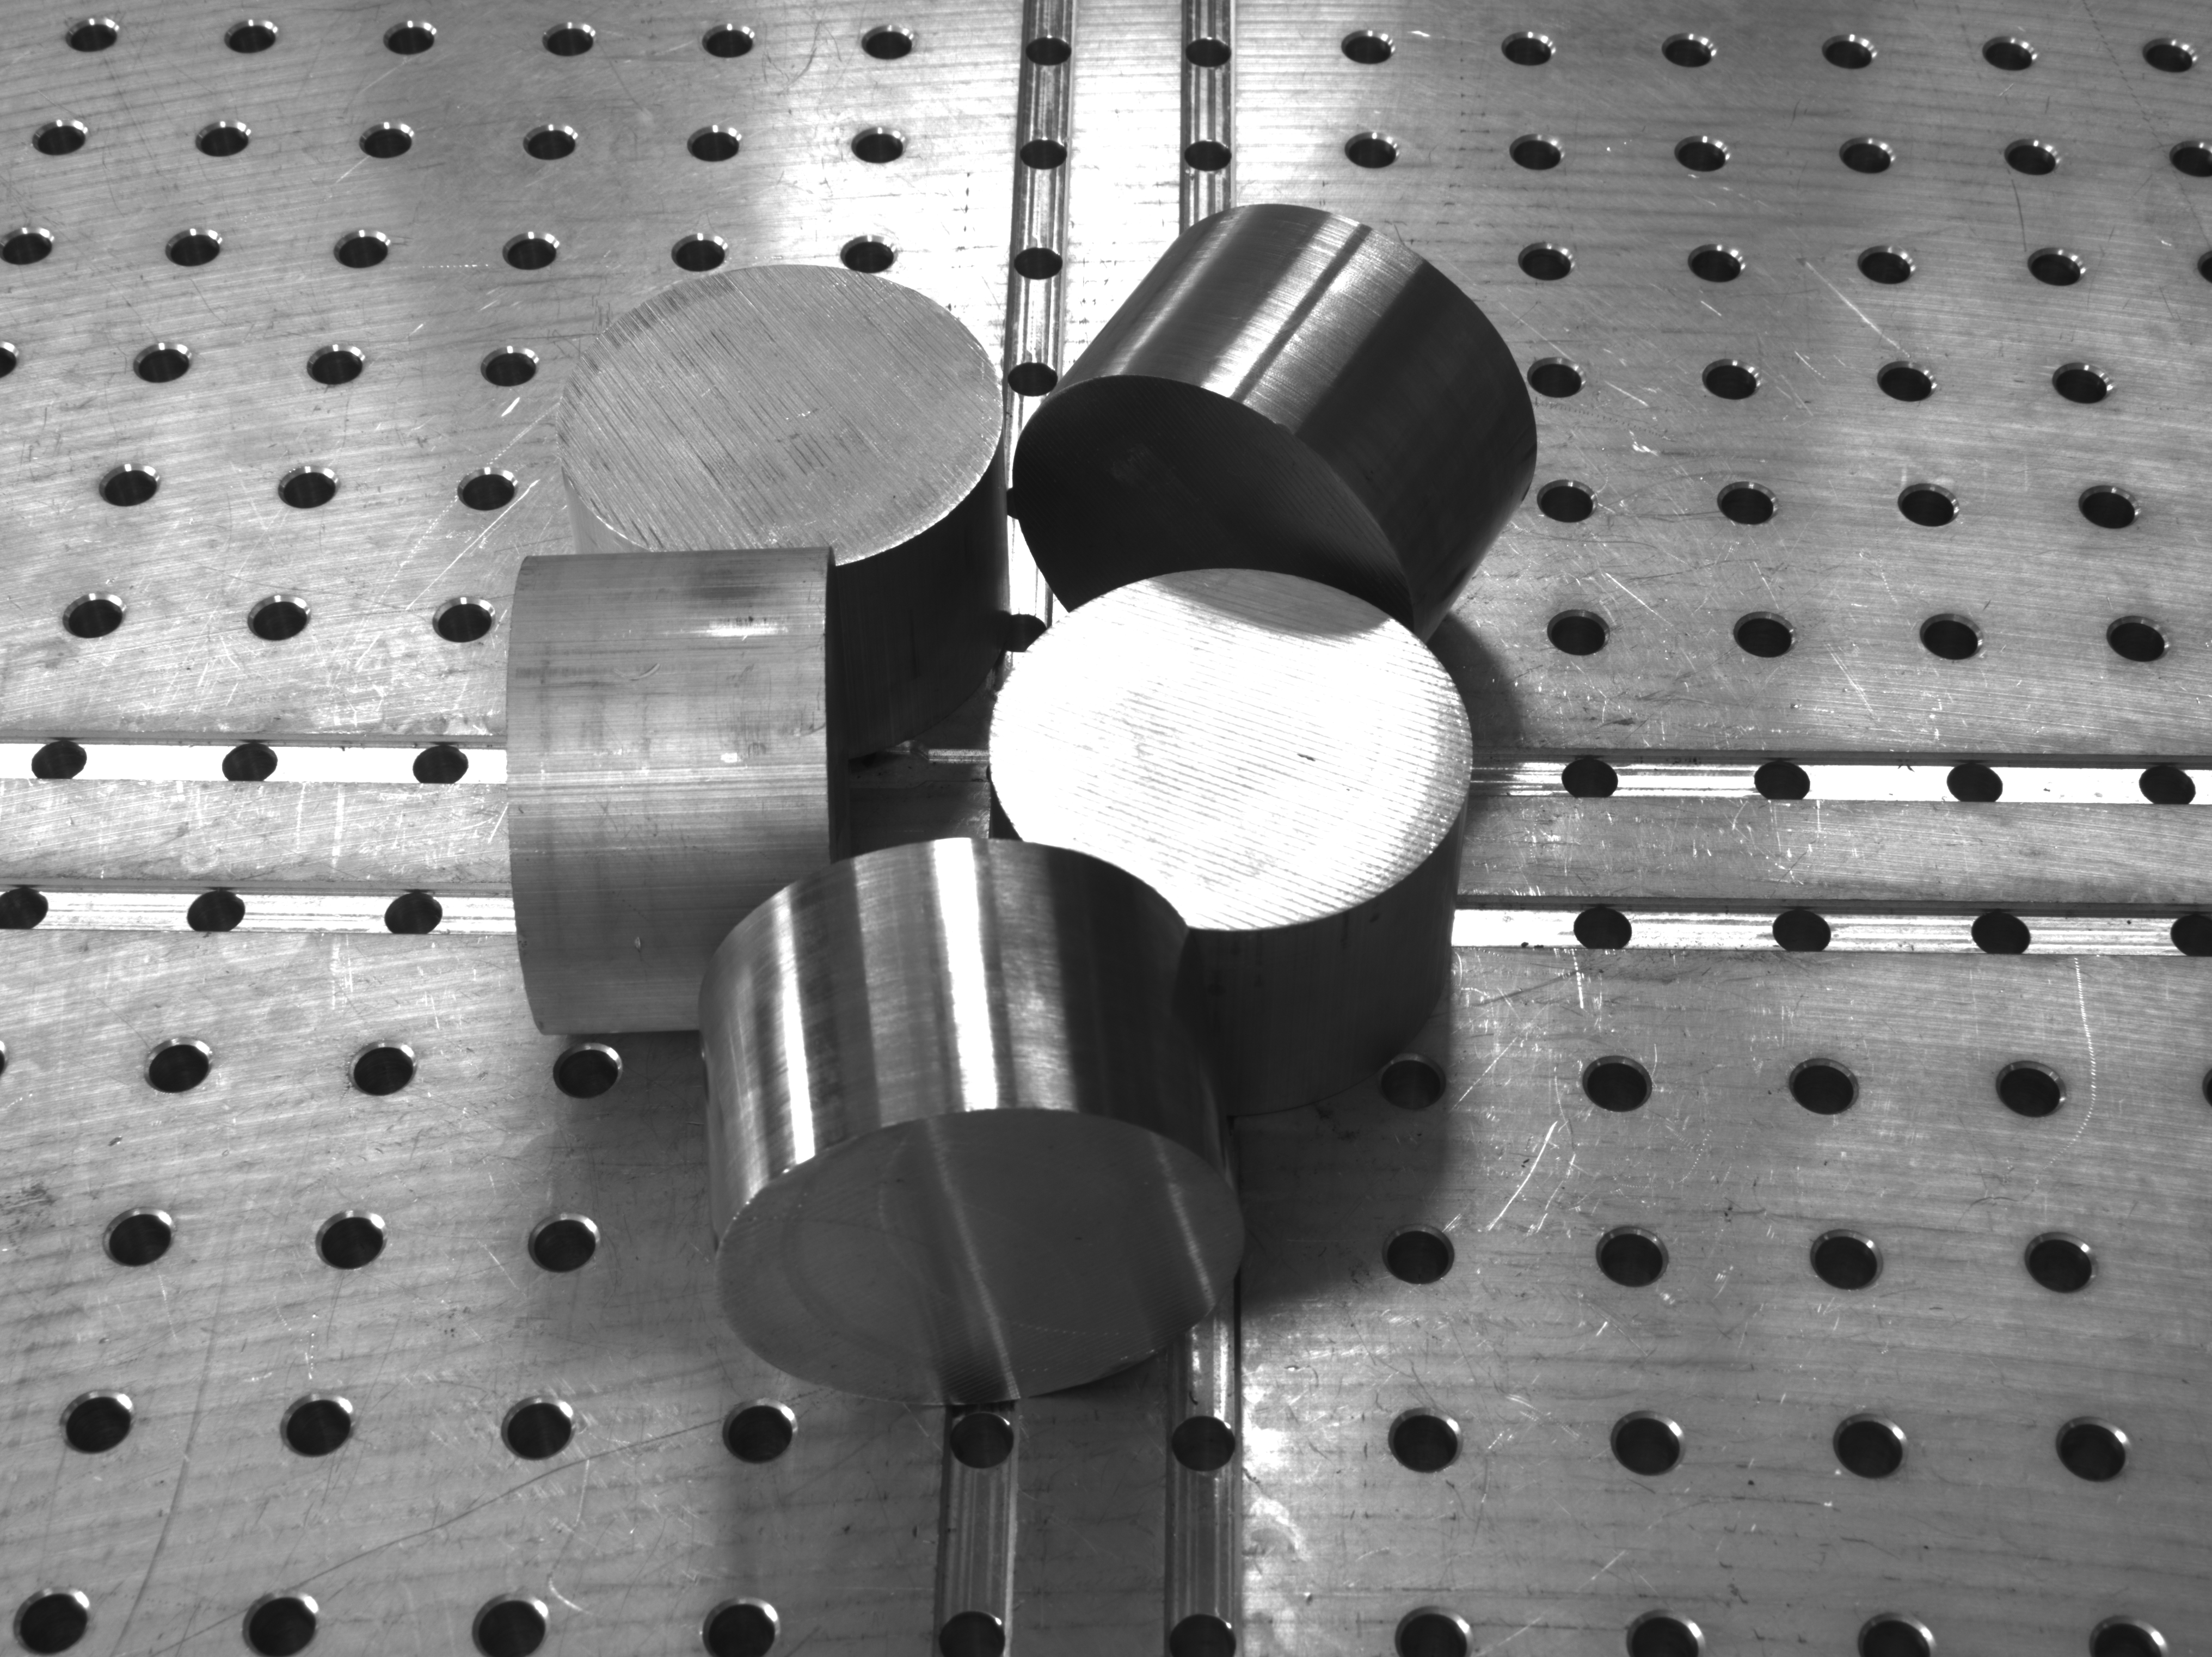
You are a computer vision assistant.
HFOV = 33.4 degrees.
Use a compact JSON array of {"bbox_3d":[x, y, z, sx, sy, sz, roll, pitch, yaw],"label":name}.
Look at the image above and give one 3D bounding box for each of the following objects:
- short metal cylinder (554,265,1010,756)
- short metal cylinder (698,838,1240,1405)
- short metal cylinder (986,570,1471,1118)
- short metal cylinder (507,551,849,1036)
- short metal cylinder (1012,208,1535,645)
[{"bbox_3d":[-0.058,-0.058,0.678,0.080,0.050,0.080,-1,50,1],"label":"short metal cylinder"},{"bbox_3d":[-0.022,0.046,0.570,0.080,0.080,0.050,-5,50,-4],"label":"short metal cylinder"},{"bbox_3d":[0.020,0.002,0.628,0.080,0.050,0.080,0,50,0],"label":"short metal cylinder"},{"bbox_3d":[-0.070,-0.006,0.616,0.050,0.080,0.080,-1,50,-2],"label":"short metal cylinder"},{"bbox_3d":[0.030,-0.064,0.664,0.080,0.080,0.050,23,53,18],"label":"short metal cylinder"}]
